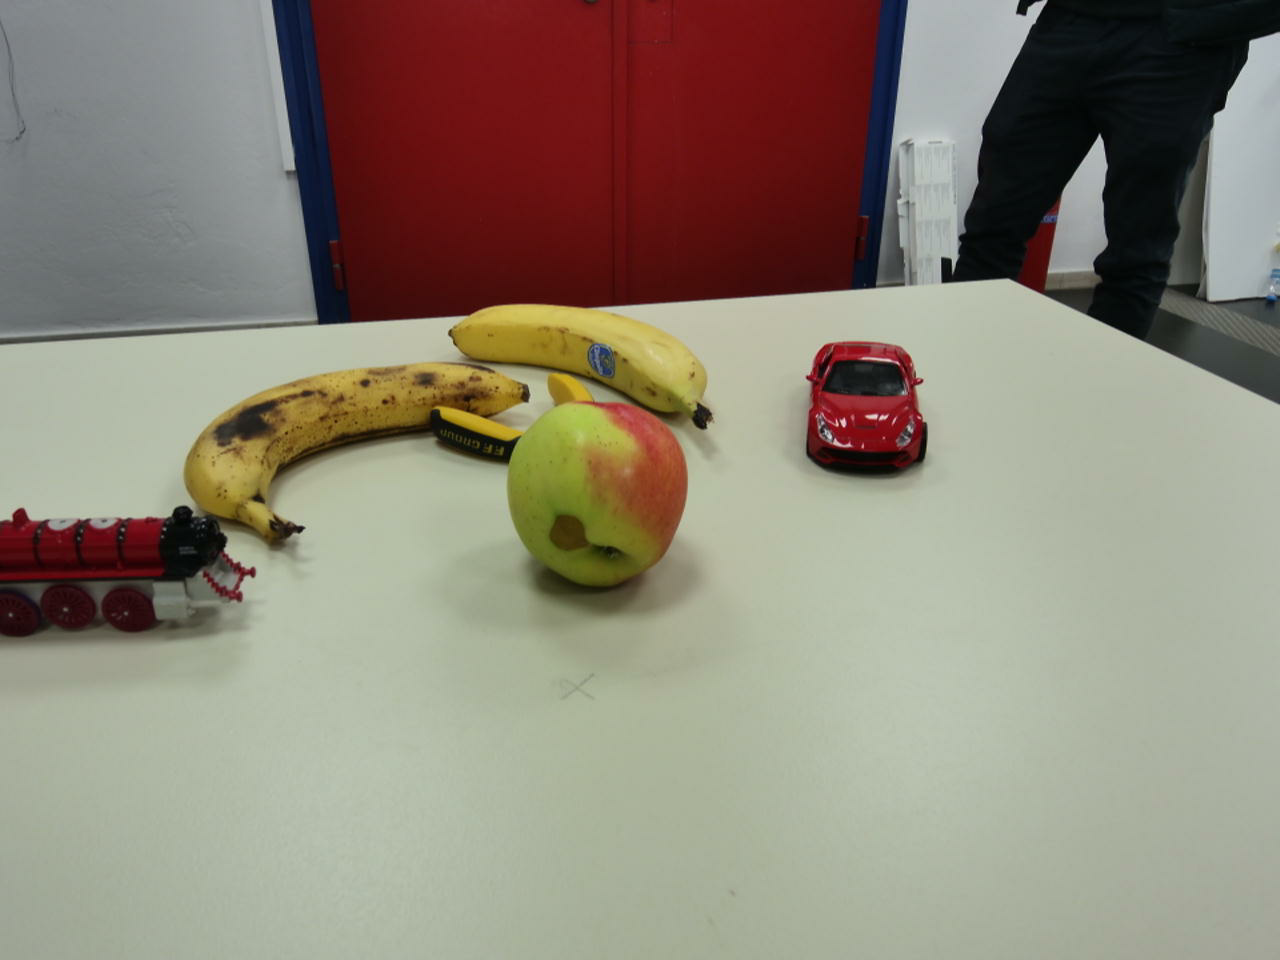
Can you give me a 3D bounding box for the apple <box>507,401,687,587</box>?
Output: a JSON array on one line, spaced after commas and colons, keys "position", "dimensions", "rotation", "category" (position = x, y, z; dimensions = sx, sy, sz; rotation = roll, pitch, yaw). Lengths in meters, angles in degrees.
[{"position": [-0.016, 0.004, 0.408], "dimensions": [0.075, 0.074, 0.075], "rotation": [-14, 28, -30], "category": "apple"}]
